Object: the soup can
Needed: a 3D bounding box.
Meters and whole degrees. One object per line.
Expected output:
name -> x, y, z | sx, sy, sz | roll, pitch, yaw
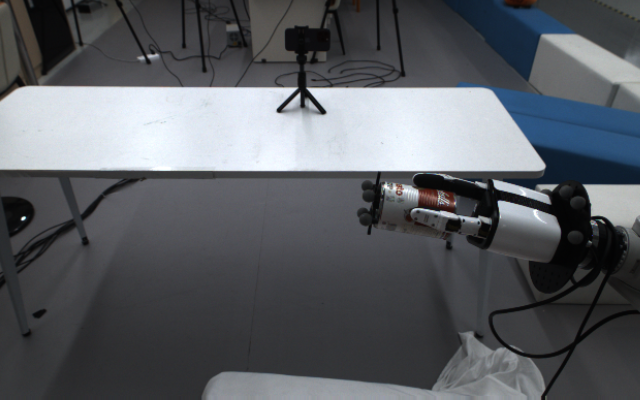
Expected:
soup can -> 0.132, 0.013, 0.672 | 0.101, 0.067, 0.067 | 9, 35, 0
